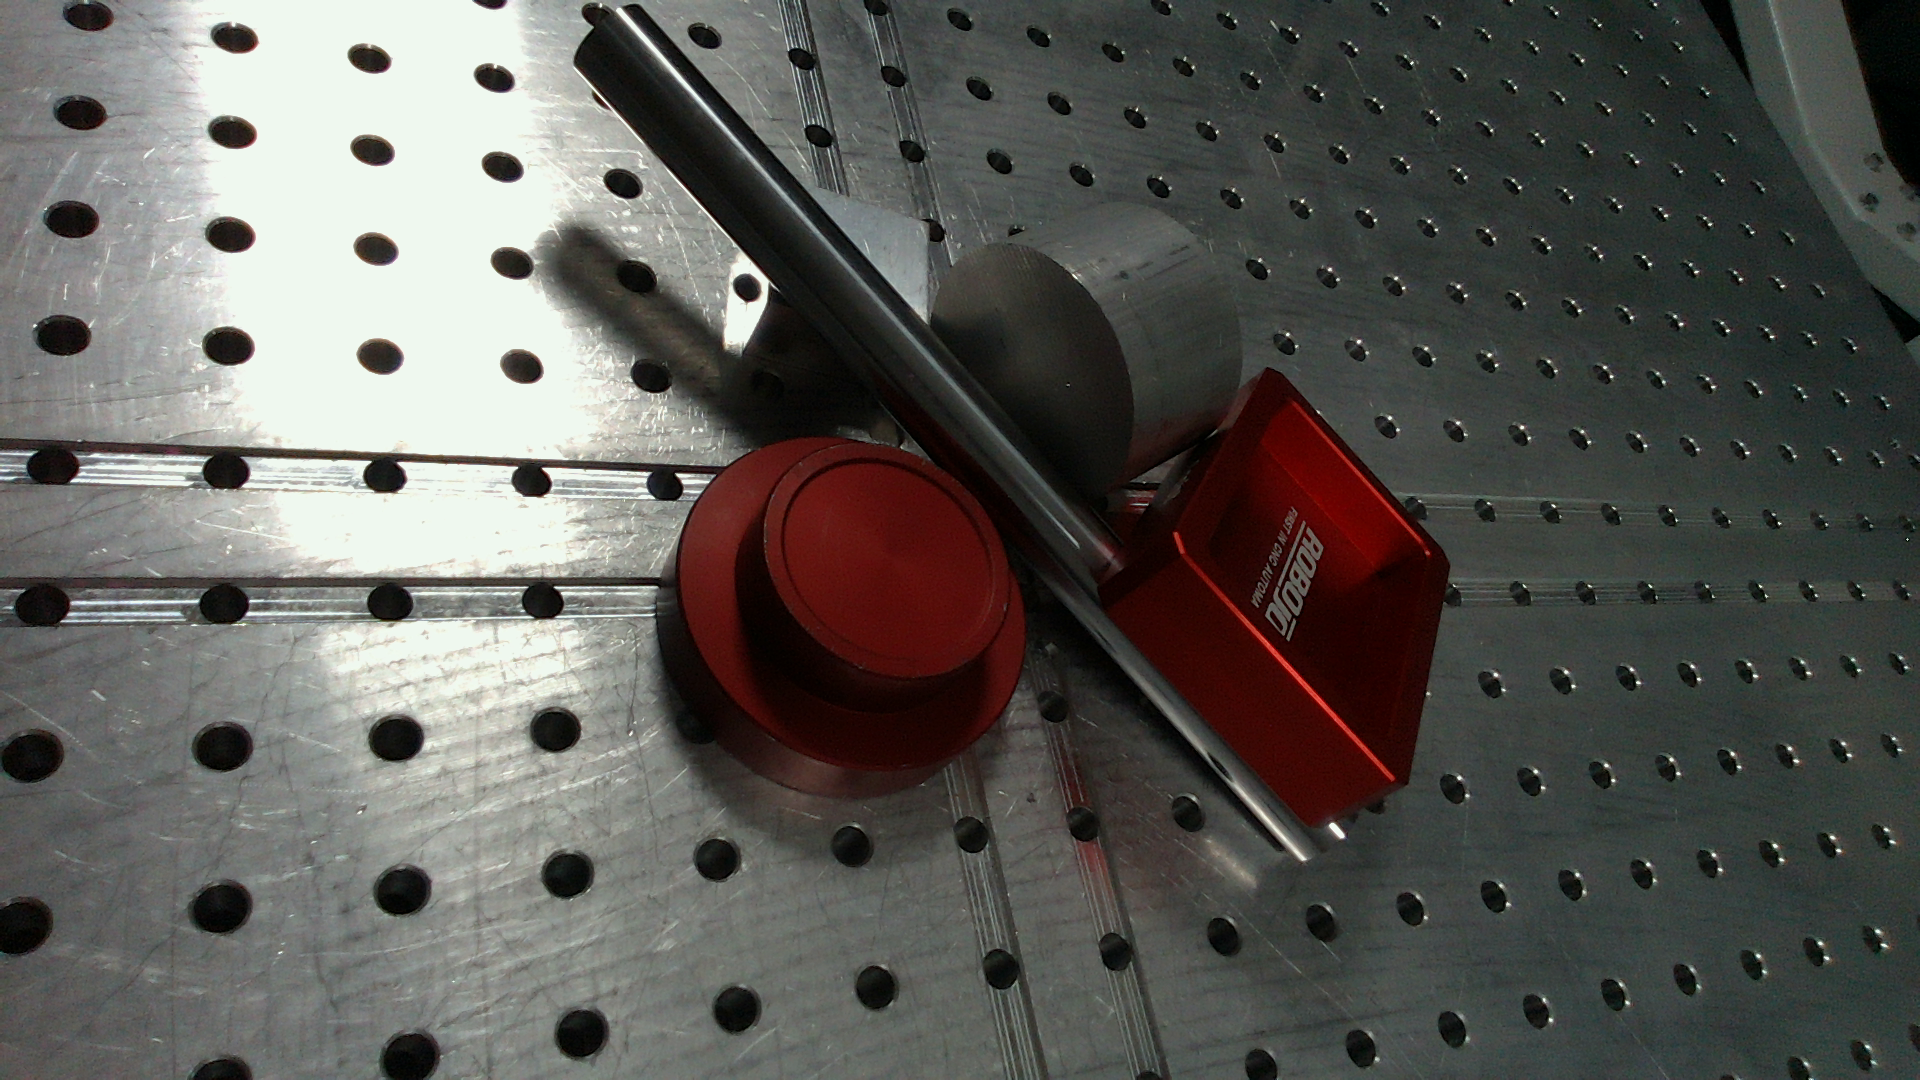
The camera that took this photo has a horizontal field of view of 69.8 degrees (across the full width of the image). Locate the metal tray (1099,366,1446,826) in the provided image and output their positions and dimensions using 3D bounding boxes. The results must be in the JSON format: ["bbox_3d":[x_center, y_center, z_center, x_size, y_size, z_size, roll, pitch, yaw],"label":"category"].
[{"bbox_3d":[0.099,0.010,0.409,0.090,0.030,0.130,47,35,-5],"label":"metal tray"}]

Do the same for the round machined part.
[{"bbox_3d":[-0.026,0.013,0.358,0.098,0.042,0.098,14,56,-21],"label":"round machined part"}]

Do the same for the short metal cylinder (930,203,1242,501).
[{"bbox_3d":[0.036,-0.056,0.411,0.050,0.080,0.080,-28,77,-37],"label":"short metal cylinder"}]

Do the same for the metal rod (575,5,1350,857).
[{"bbox_3d":[0.005,-0.027,0.390,0.300,0.025,0.025,48,51,-5],"label":"metal rod"}]

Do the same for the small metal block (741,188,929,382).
[{"bbox_3d":[-0.037,-0.078,0.421,0.050,0.025,0.050,13,56,-21],"label":"small metal block"}]
